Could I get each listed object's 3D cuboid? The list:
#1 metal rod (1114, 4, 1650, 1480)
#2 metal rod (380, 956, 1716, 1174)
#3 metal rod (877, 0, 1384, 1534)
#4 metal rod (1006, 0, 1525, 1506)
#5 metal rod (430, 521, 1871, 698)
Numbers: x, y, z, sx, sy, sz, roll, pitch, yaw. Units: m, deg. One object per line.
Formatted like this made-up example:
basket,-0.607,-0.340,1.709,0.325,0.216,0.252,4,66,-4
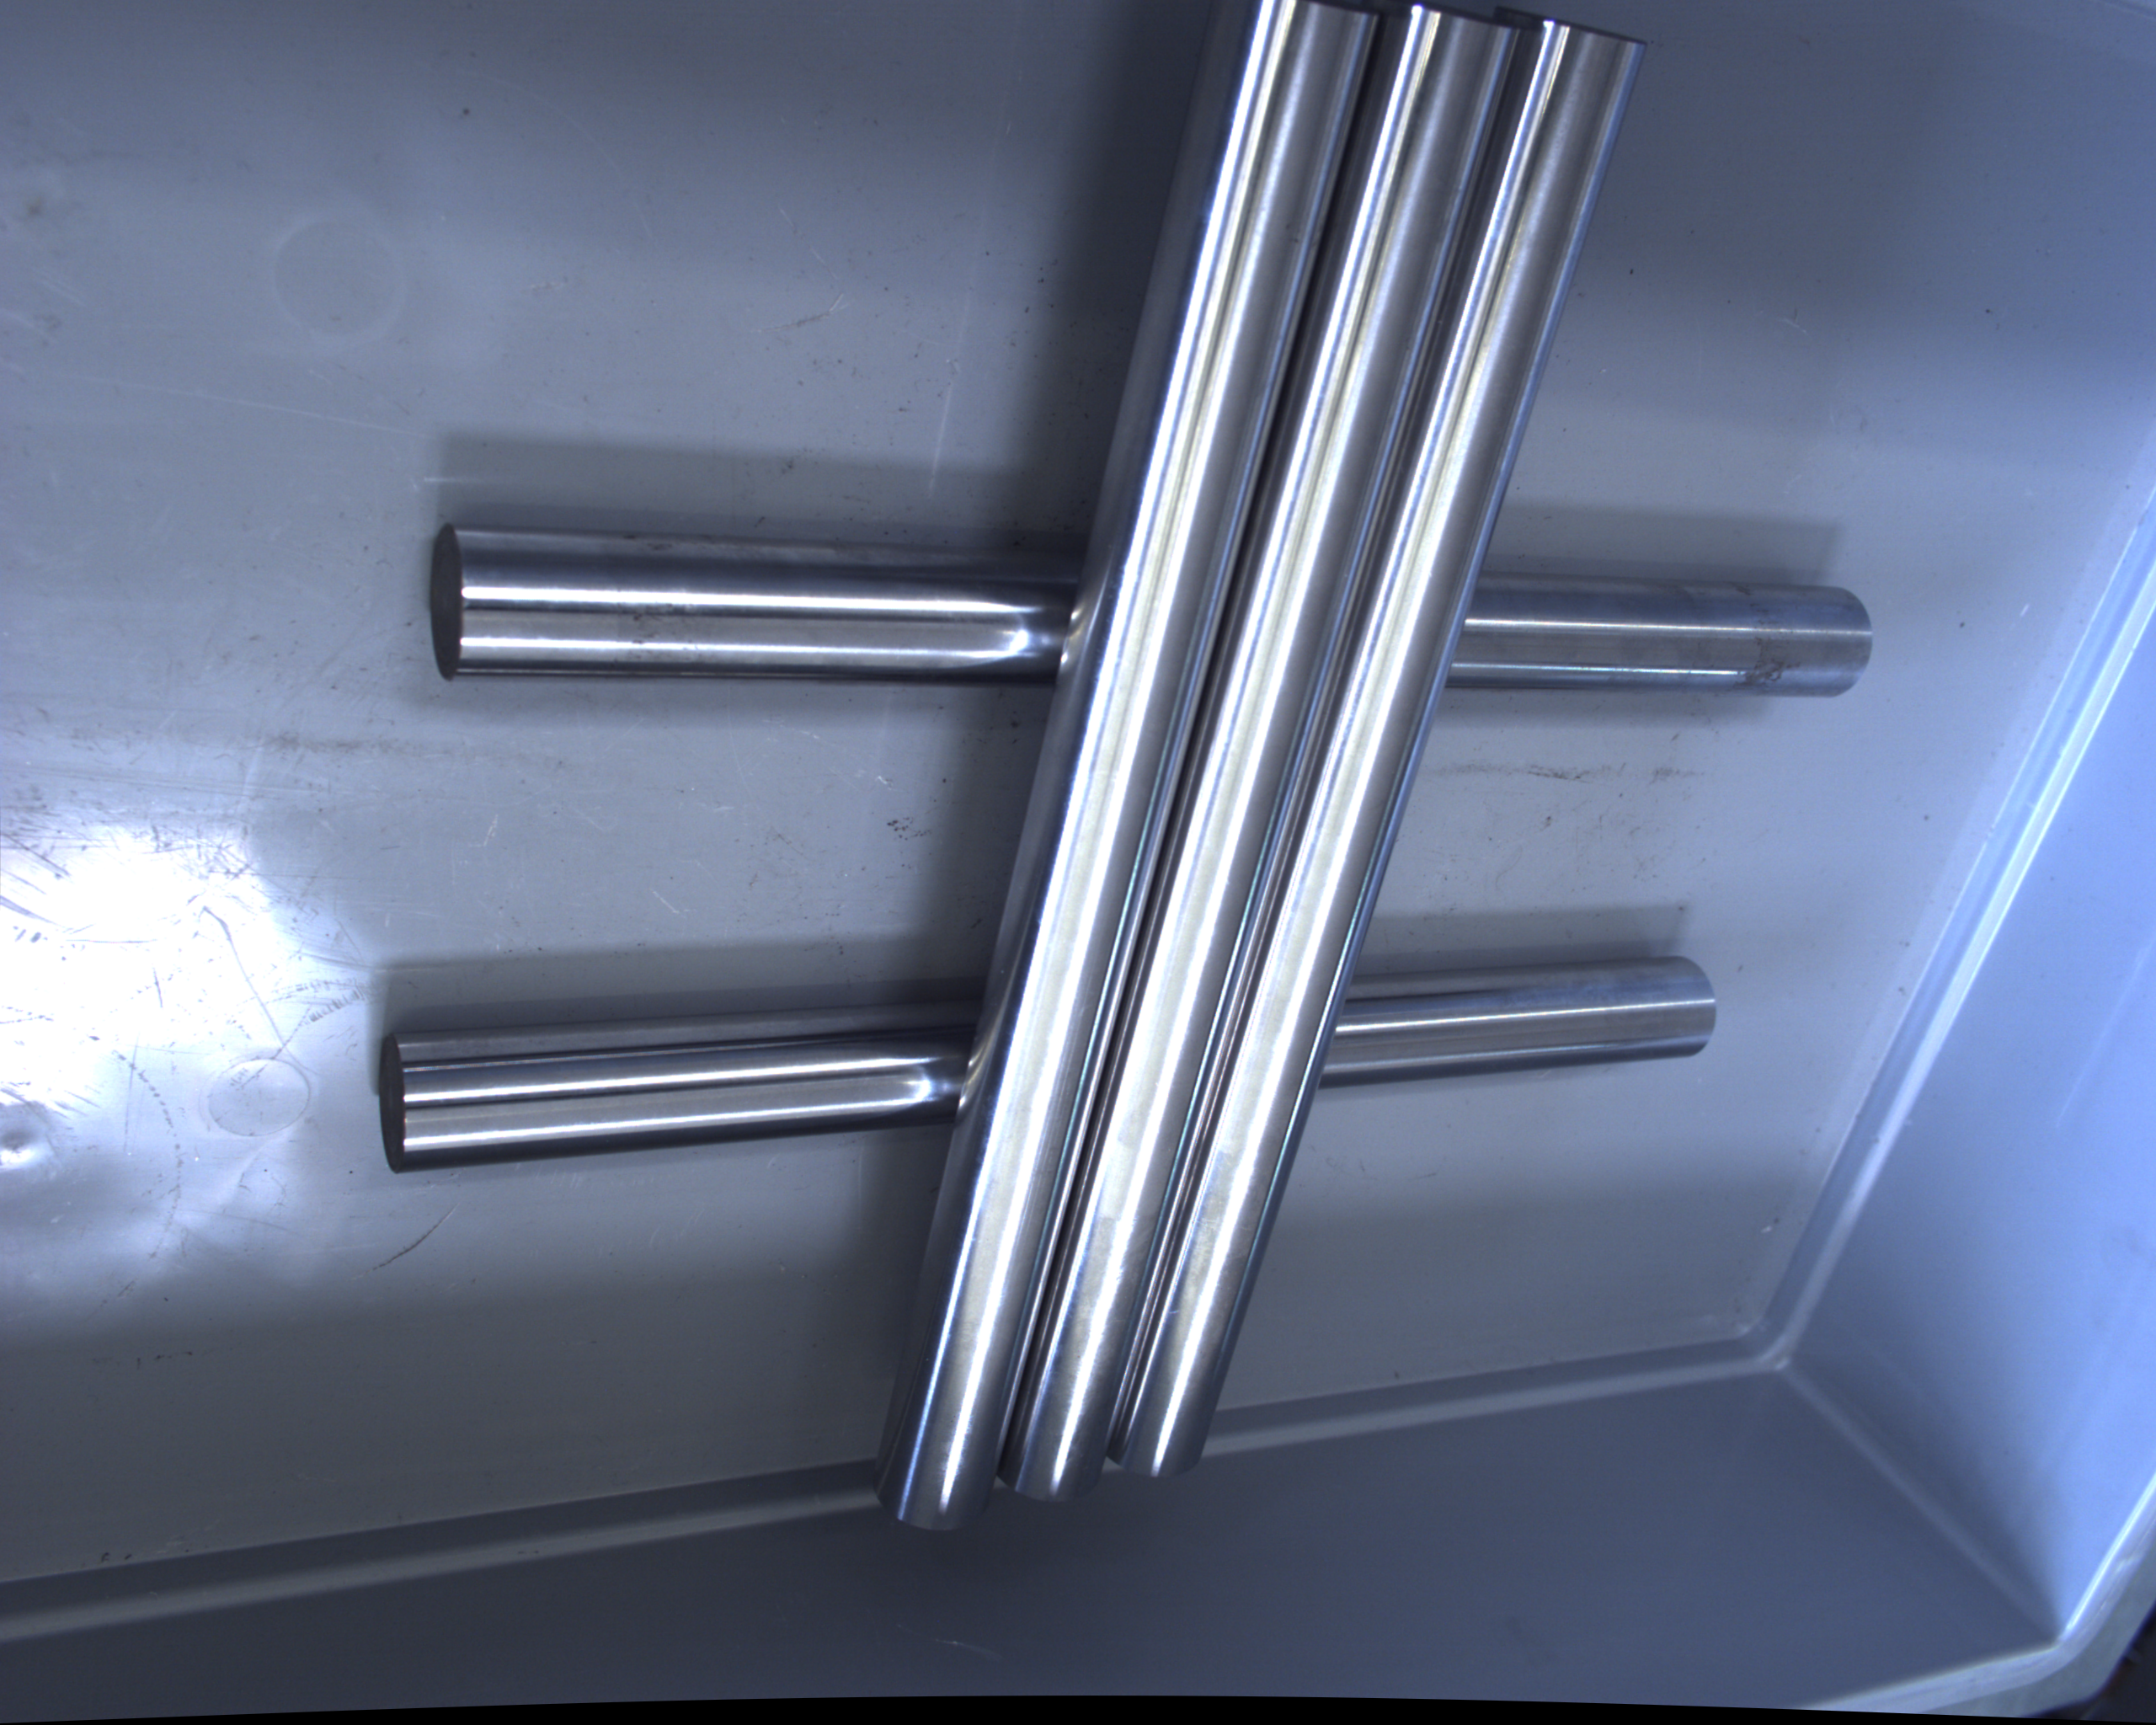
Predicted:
metal rod,0.047,-0.003,0.397,0.025,0.025,0.298,-1,119,-28
metal rod,0.013,0.039,0.438,0.303,0.025,0.025,-2,119,-28
metal rod,0.002,0.001,0.375,0.025,0.025,0.298,-1,119,-28
metal rod,0.025,-0.001,0.386,0.025,0.025,0.298,-1,119,-28
metal rod,0.034,-0.045,0.398,0.303,0.025,0.025,-2,119,-28
